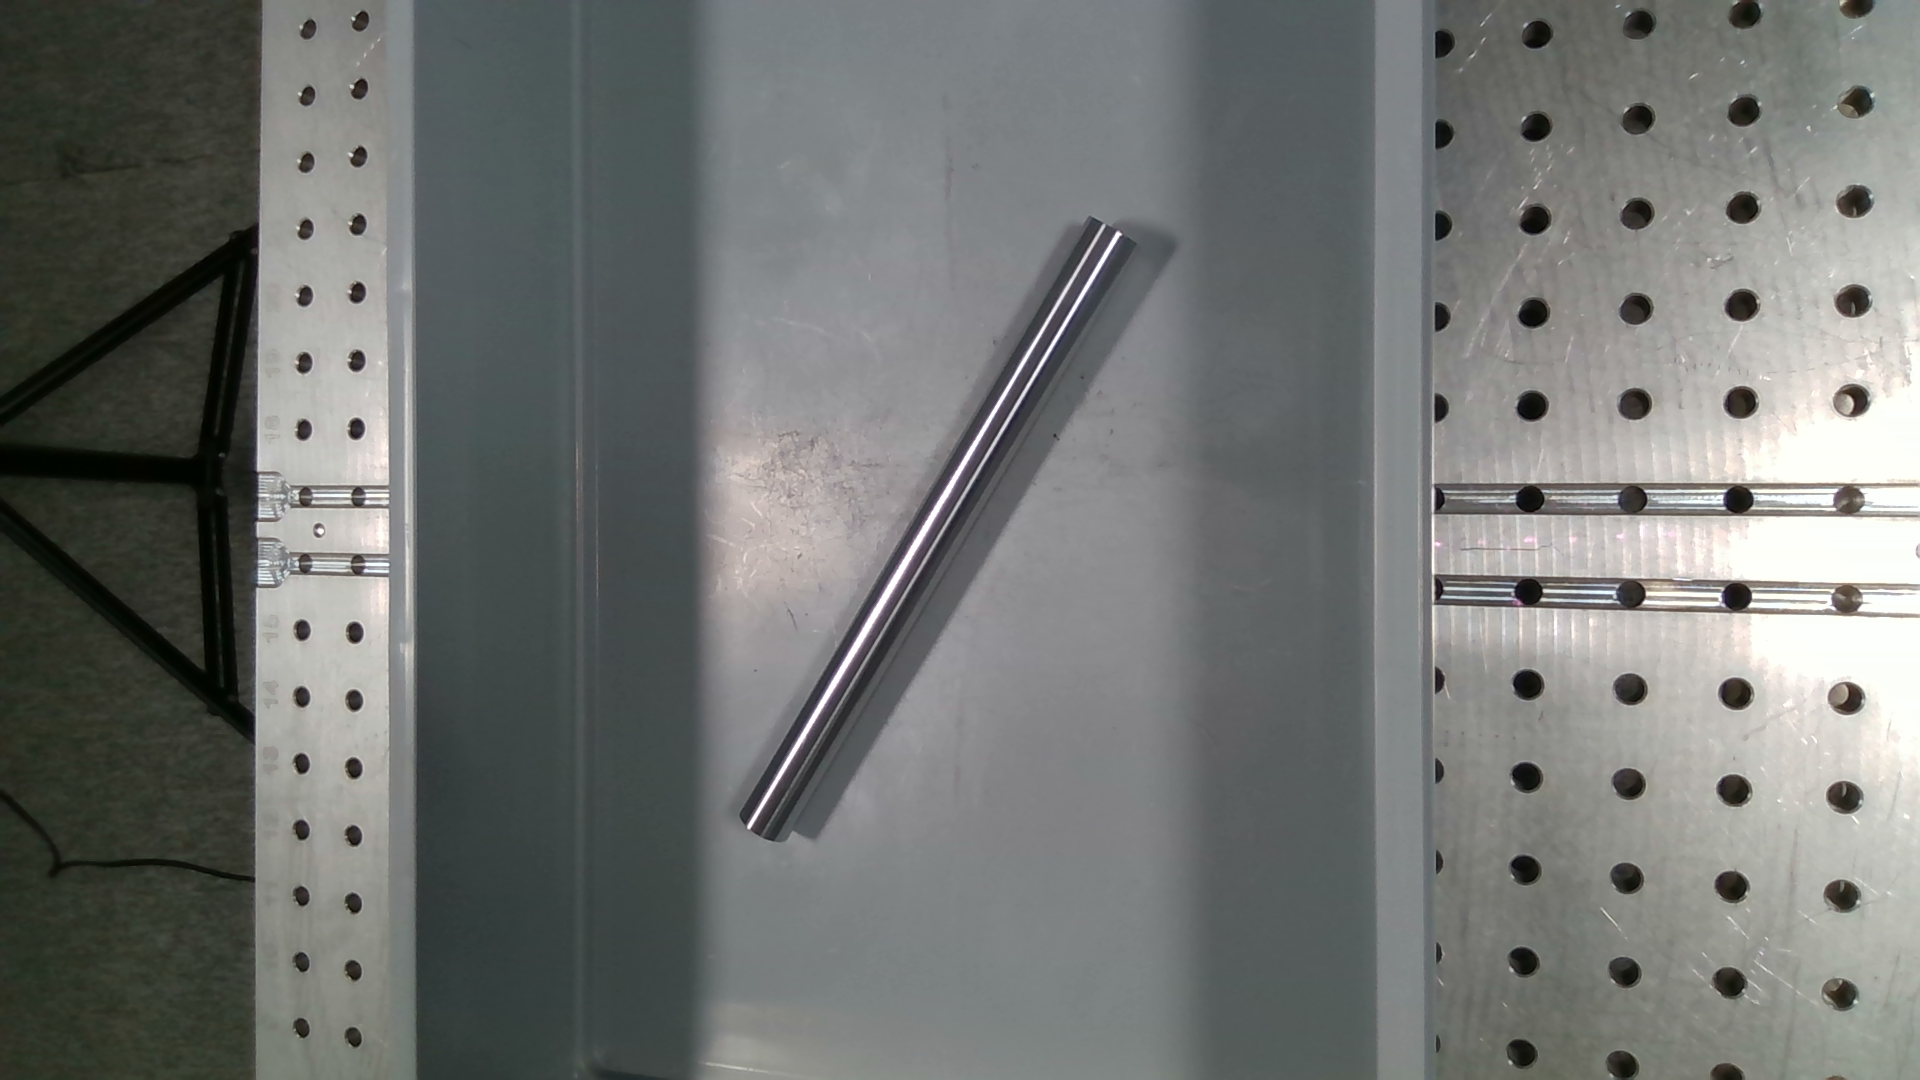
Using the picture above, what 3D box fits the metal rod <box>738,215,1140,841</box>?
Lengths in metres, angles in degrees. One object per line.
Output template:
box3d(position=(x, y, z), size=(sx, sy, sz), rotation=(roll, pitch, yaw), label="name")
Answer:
box3d(position=(-0.013, 0.001, 0.588), size=(0.025, 0.025, 0.300), rotation=(34, 102, 17), label="metal rod")
